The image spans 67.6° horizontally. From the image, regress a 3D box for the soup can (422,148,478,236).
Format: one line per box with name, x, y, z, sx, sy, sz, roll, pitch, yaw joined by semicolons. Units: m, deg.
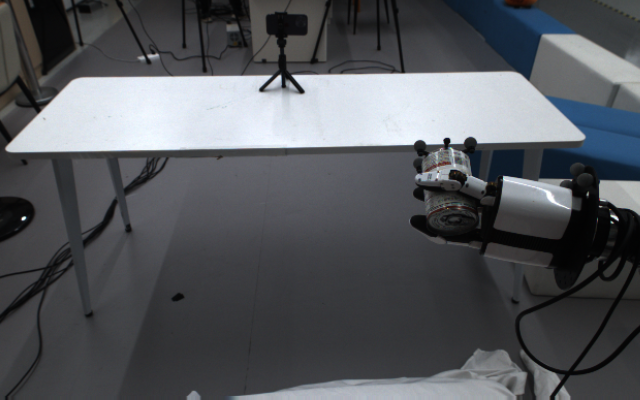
soup can;0.176;-0.012;0.655;0.067;0.067;0.101;3;57;1
